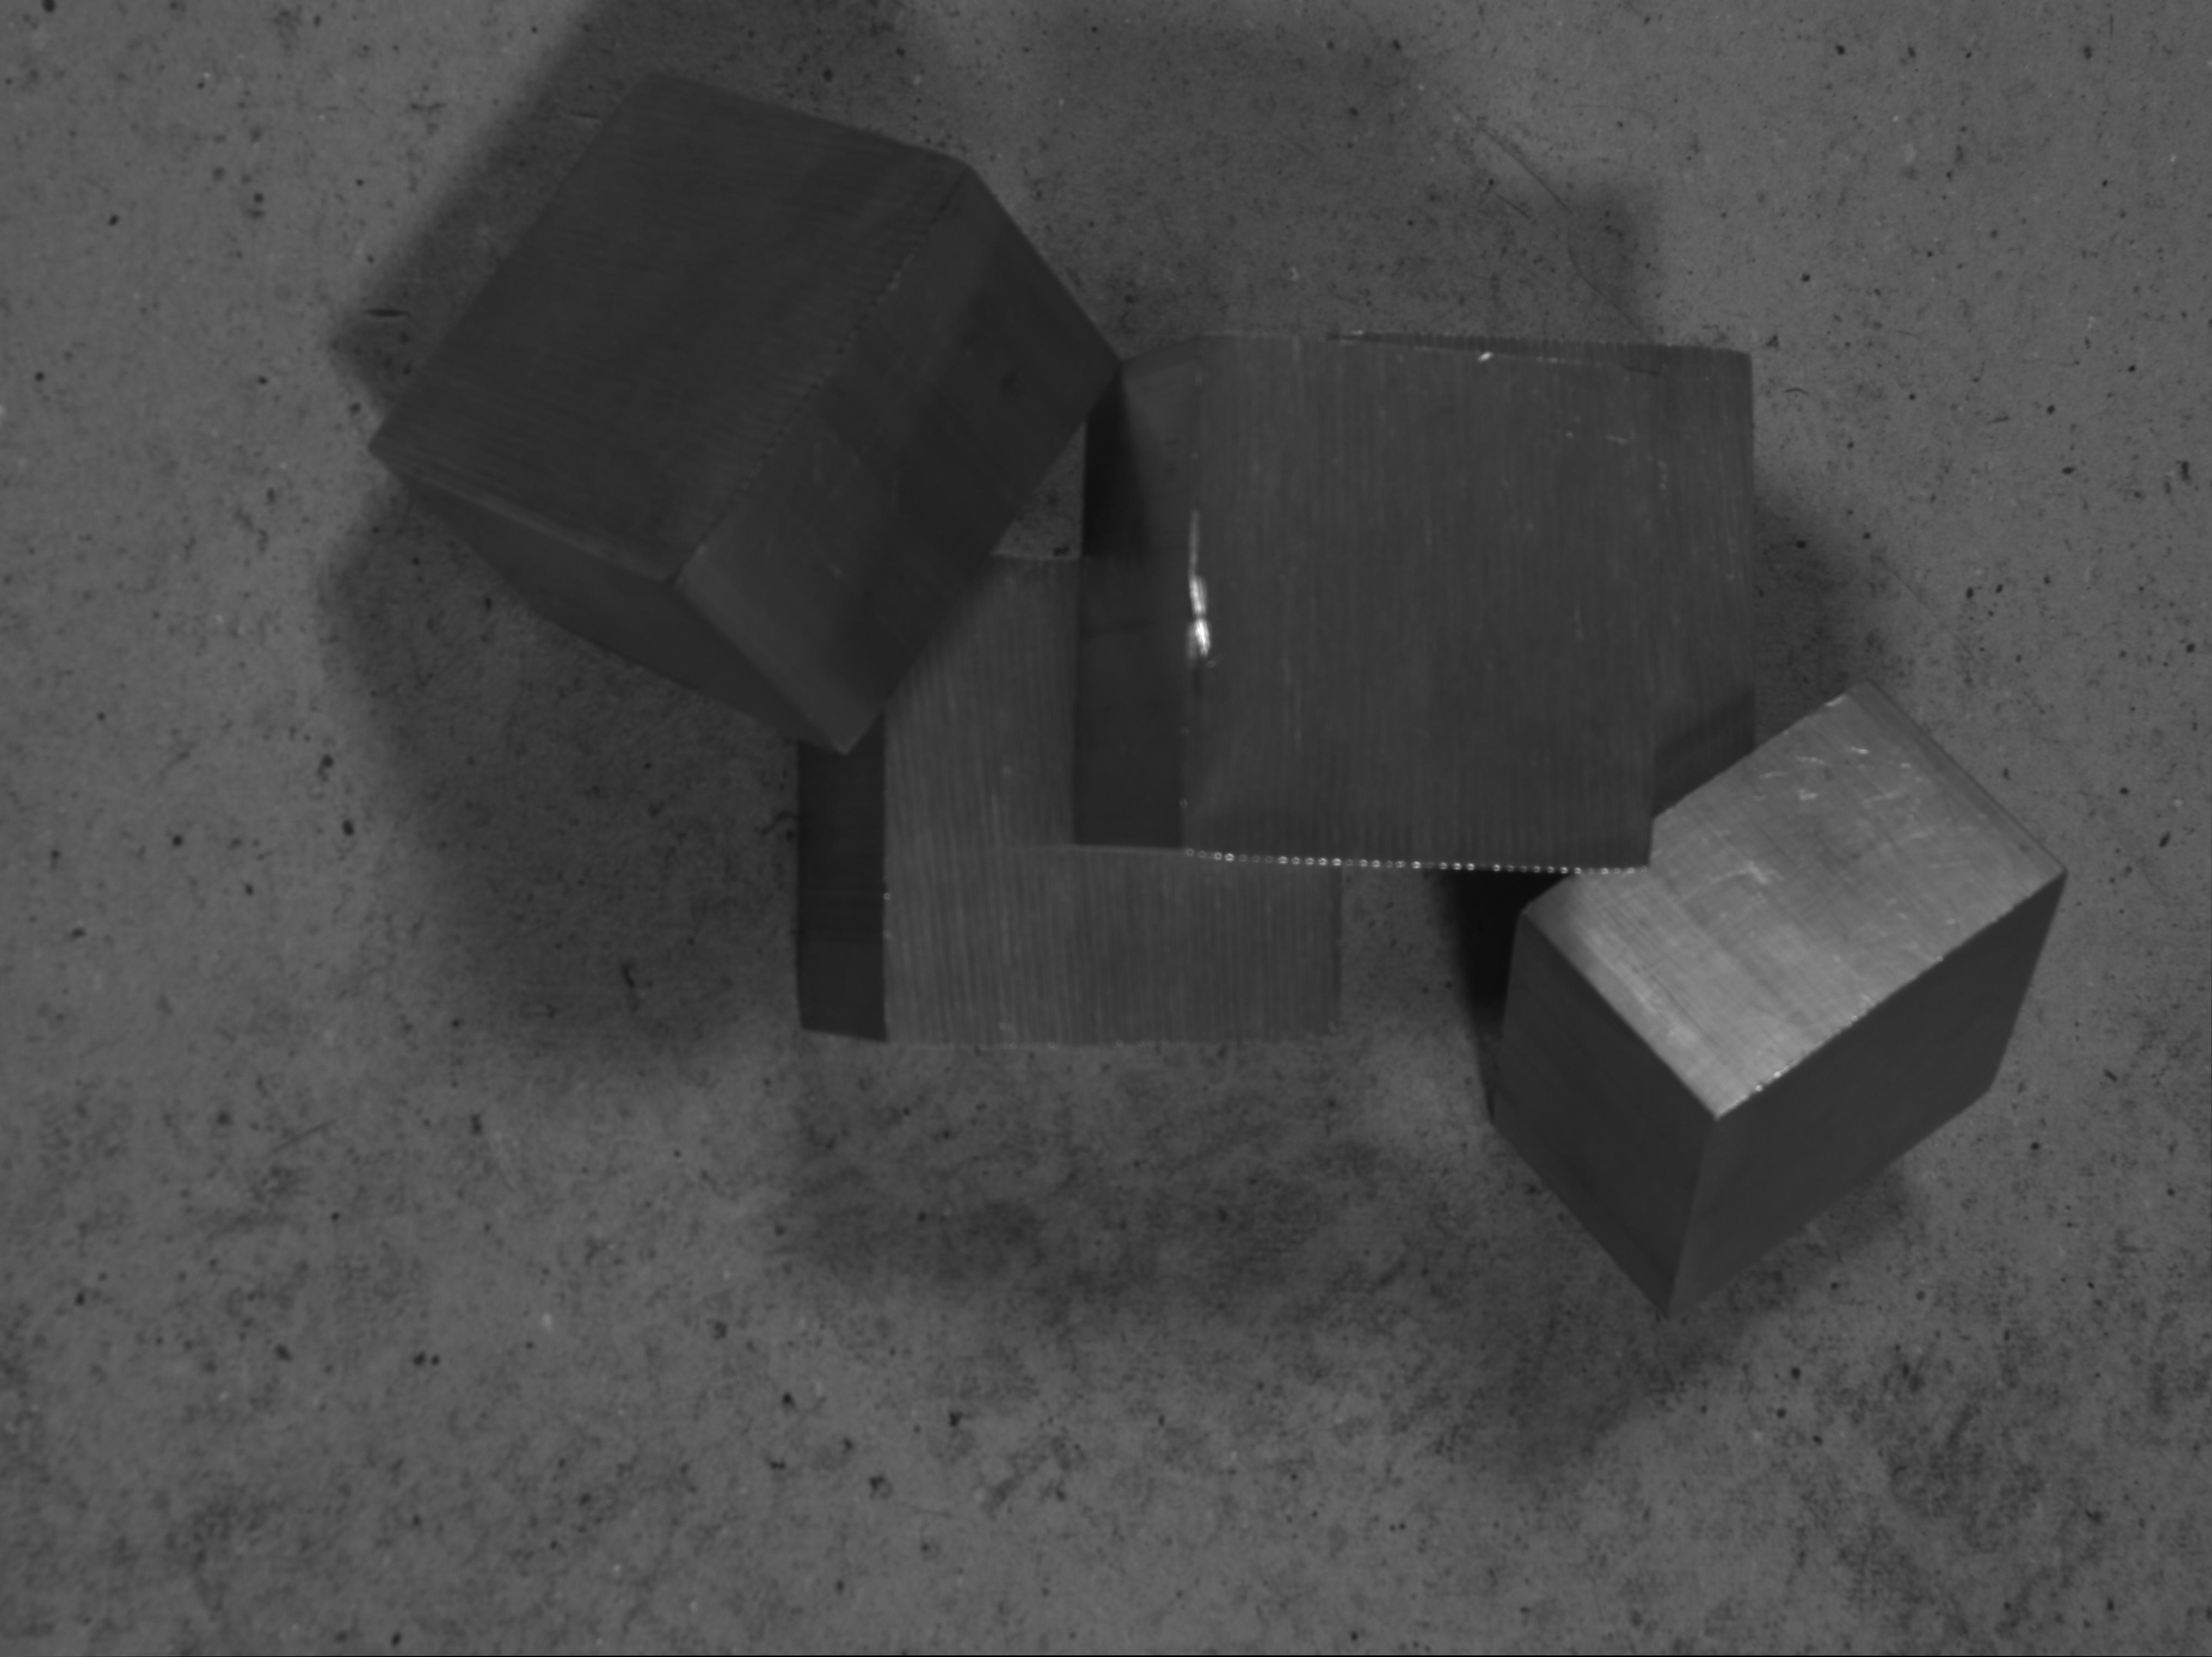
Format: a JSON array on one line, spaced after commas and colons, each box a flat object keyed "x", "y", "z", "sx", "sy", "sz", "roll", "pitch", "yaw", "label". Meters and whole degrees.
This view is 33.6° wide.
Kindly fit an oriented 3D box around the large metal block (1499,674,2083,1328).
[{"x": 0.119, "y": 0.032, "z": 0.651, "sx": 0.080, "sy": 0.080, "sz": 0.050, "roll": -33, "pitch": 62, "yaw": -17, "label": "large metal block"}]

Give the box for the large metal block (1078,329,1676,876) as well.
[{"x": 0.043, "y": -0.034, "z": 0.590, "sx": 0.080, "sy": 0.050, "sz": 0.080, "roll": 2, "pitch": 89, "yaw": -20, "label": "large metal block"}]

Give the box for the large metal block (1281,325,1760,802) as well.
[{"x": 0.069, "y": -0.045, "z": 0.656, "sx": 0.080, "sy": 0.050, "sz": 0.080, "roll": 0, "pitch": 90, "yaw": -20, "label": "large metal block"}]

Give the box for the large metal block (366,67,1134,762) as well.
[{"x": -0.057, "y": -0.068, "z": 0.586, "sx": 0.080, "sy": 0.080, "sz": 0.050, "roll": -56, "pitch": 139, "yaw": -11, "label": "large metal block"}]

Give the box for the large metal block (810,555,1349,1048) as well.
[{"x": -0.005, "y": -0.004, "z": 0.626, "sx": 0.080, "sy": 0.050, "sz": 0.080, "roll": 0, "pitch": 90, "yaw": -20, "label": "large metal block"}]
